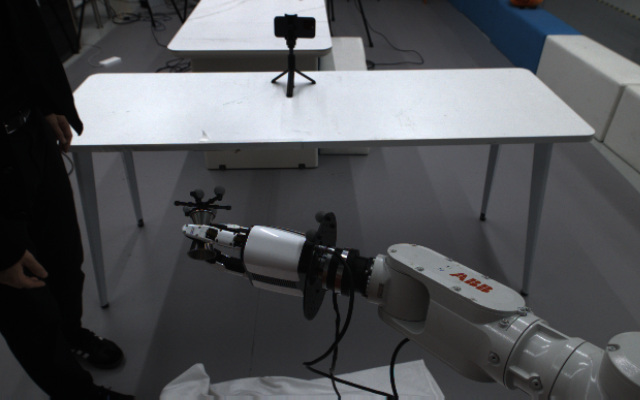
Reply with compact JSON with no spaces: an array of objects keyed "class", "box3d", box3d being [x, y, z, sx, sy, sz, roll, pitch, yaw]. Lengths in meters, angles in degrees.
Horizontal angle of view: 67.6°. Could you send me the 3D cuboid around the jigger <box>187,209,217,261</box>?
[{"class":"jigger","box3d":[-0.184,0.054,0.751,0.043,0.043,0.071,-2,63,-6]}]
